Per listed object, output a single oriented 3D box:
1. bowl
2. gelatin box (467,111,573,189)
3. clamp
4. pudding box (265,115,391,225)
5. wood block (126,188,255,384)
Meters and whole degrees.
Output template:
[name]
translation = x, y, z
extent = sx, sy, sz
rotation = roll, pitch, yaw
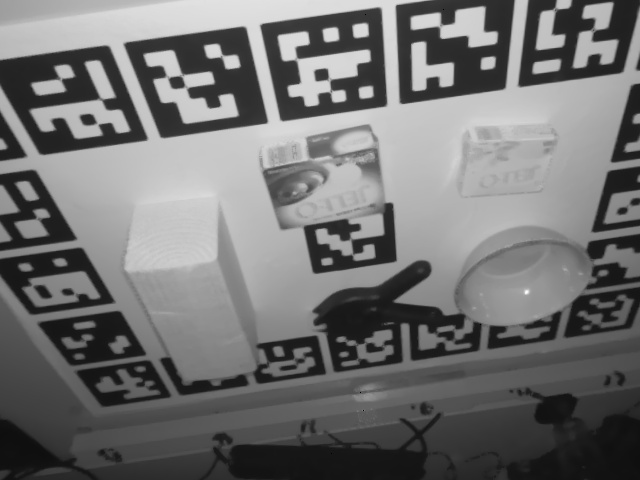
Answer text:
[bowl]
translation = 0.243, 0.031, 0.800
extent = 0.162, 0.055, 0.160
rotation = -3, 132, -2
[gelatin box]
translation = 0.196, -0.088, 0.684
extent = 0.090, 0.030, 0.072
rotation = -3, 133, -4
[clamp]
translation = 0.088, 0.076, 0.839
extent = 0.164, 0.037, 0.121
rotation = -15, 134, 10
[pudding box]
translation = 0.010, -0.068, 0.676
extent = 0.114, 0.039, 0.089
rotation = -11, 131, 0
[wood block]
translation = -0.130, 0.055, 0.740
extent = 0.090, 0.091, 0.204
rotation = -6, 134, 1
